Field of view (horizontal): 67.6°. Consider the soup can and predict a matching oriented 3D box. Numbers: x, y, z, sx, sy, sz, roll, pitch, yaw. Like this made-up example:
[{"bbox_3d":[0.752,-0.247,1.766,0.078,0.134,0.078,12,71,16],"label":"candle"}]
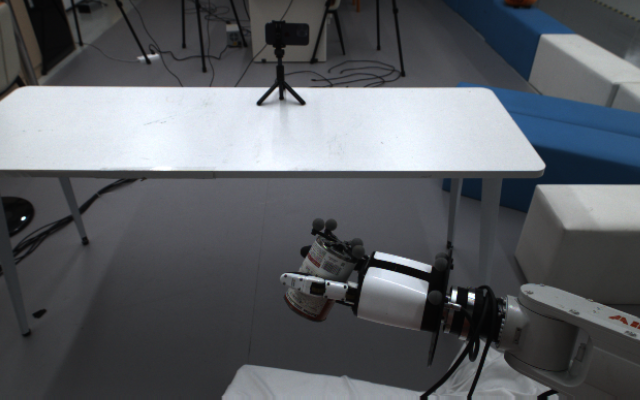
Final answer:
[{"bbox_3d":[0.003,0.109,0.674,0.067,0.101,0.067,27,10,-5],"label":"soup can"}]
